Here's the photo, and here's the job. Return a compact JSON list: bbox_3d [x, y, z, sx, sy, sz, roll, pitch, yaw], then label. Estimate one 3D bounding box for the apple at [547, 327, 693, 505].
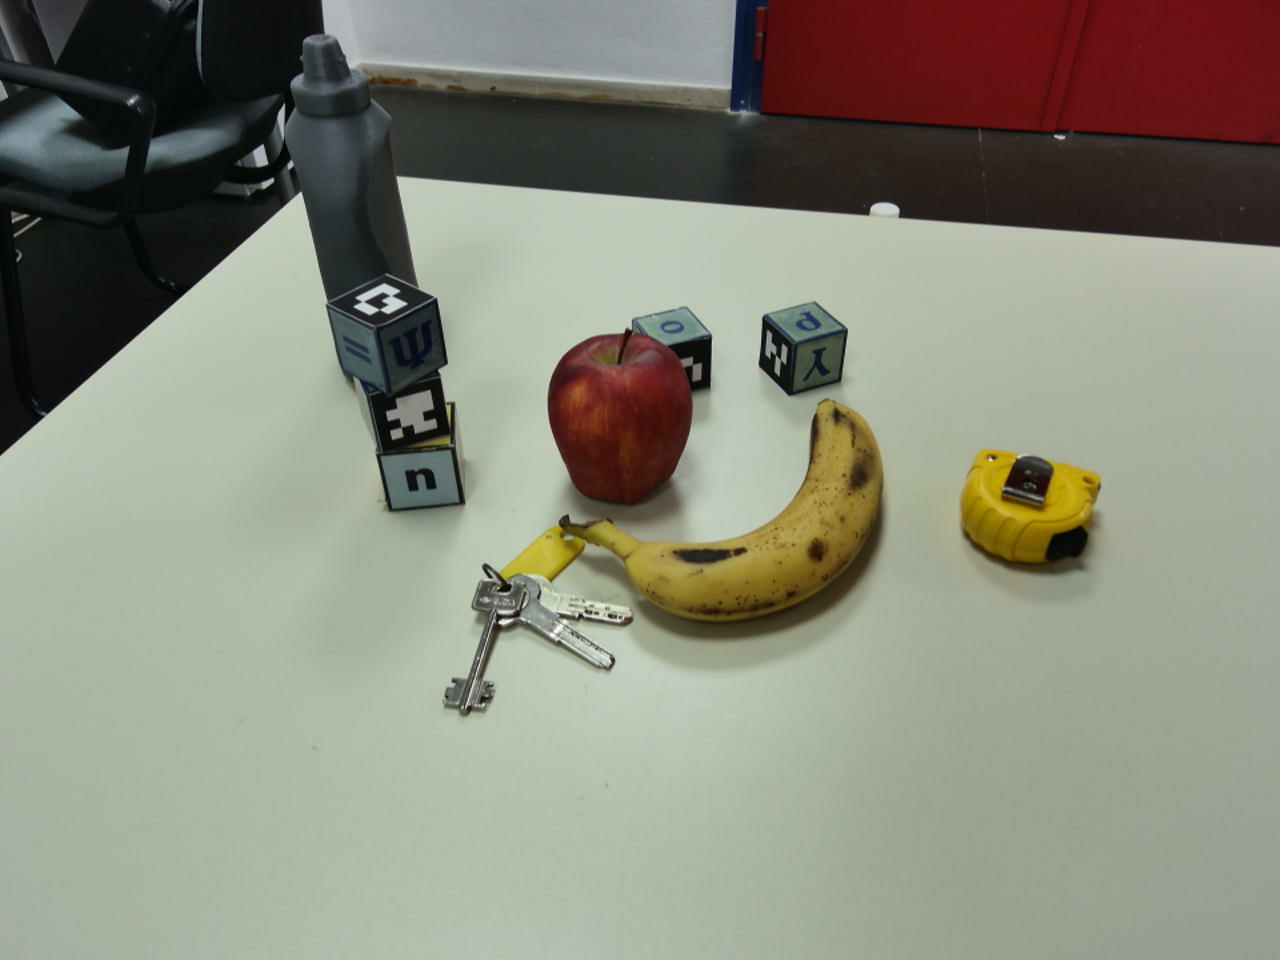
[{"bbox_3d":[-0.011,-0.039,0.519,0.083,0.090,0.083,-1,39,1],"label":"apple"}]
